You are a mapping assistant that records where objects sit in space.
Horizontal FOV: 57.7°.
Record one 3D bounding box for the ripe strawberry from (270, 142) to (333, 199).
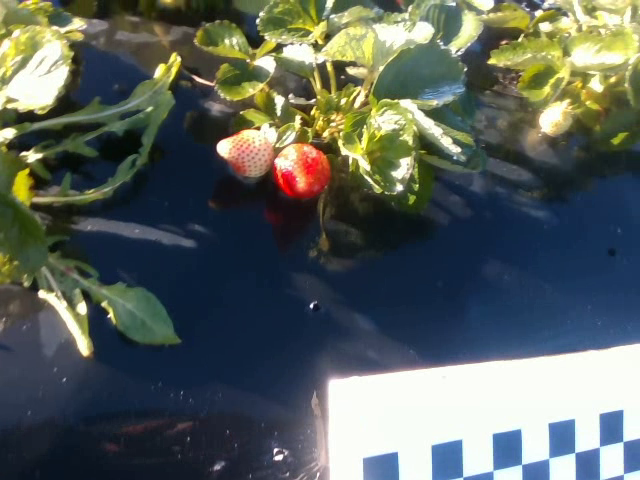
[{"bbox_3d":[-0.009,-0.041,0.351,0.040,0.038,0.056,-16,10,5],"label":"ripe strawberry"}]
